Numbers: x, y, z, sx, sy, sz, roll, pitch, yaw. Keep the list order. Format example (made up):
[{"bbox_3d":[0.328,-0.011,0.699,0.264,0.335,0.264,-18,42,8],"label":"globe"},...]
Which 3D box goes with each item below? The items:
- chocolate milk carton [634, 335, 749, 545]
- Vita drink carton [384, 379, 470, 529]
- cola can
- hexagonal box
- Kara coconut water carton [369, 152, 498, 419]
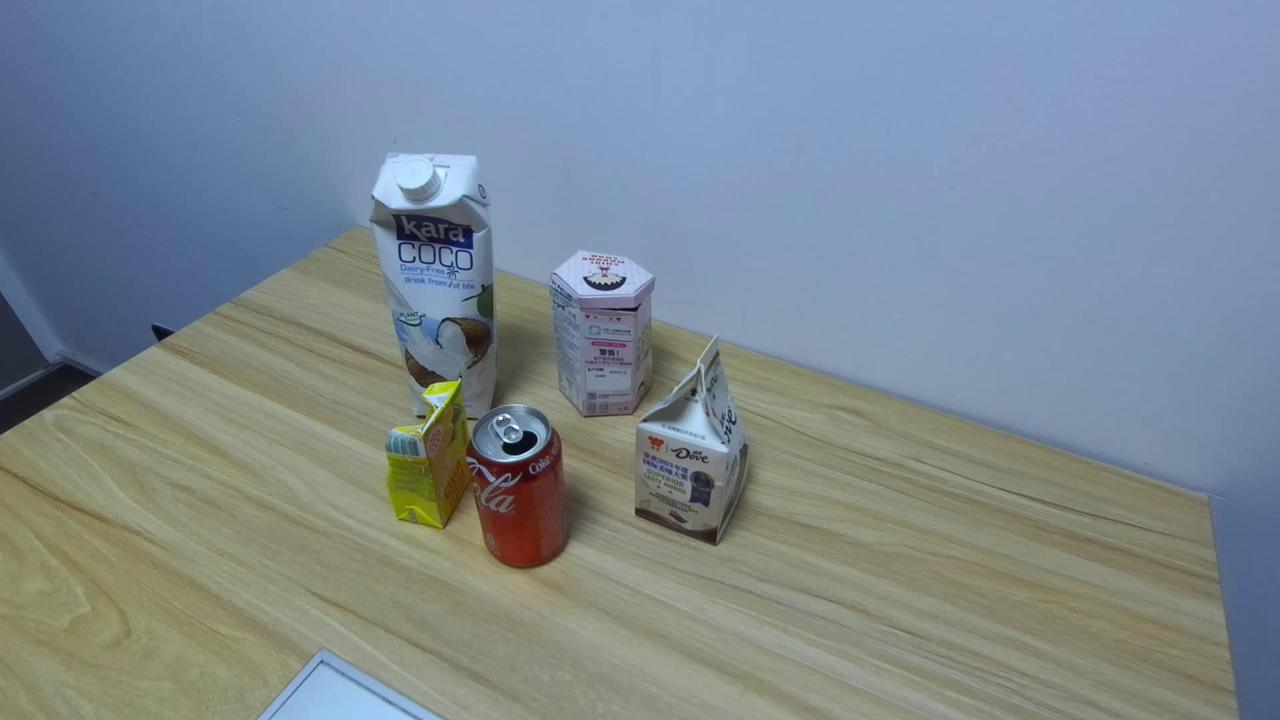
[{"bbox_3d":[0.045,0.056,0.537,0.073,0.155,0.084,18,43,19],"label":"chocolate milk carton"},{"bbox_3d":[-0.166,0.070,0.552,0.046,0.110,0.071,10,40,9],"label":"Vita drink carton"},{"bbox_3d":[-0.088,0.093,0.522,0.068,0.120,0.067,-1,40,1],"label":"cola can"},{"bbox_3d":[-0.032,-0.023,0.641,0.092,0.135,0.085,-1,39,-2],"label":"hexagonal box"},{"bbox_3d":[-0.165,-0.060,0.600,0.099,0.244,0.071,0,40,-1],"label":"Kara coconut water carton"}]
